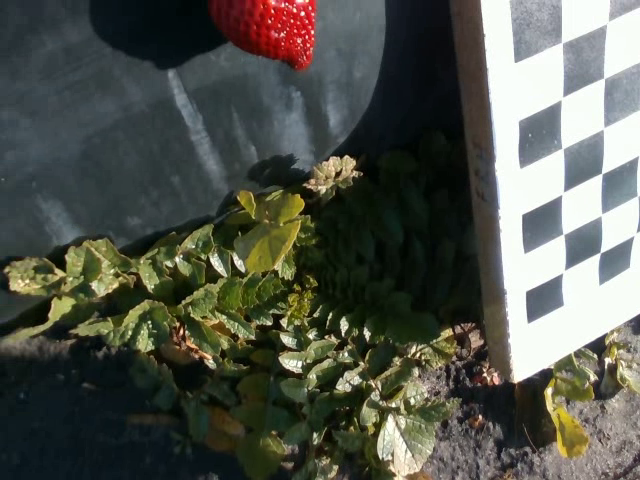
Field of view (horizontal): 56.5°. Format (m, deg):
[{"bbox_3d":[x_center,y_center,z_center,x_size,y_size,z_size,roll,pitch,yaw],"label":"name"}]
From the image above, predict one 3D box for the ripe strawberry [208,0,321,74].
[{"bbox_3d":[-0.014,-0.070,0.184,0.040,0.044,0.037,-39,24,0],"label":"ripe strawberry"}]
